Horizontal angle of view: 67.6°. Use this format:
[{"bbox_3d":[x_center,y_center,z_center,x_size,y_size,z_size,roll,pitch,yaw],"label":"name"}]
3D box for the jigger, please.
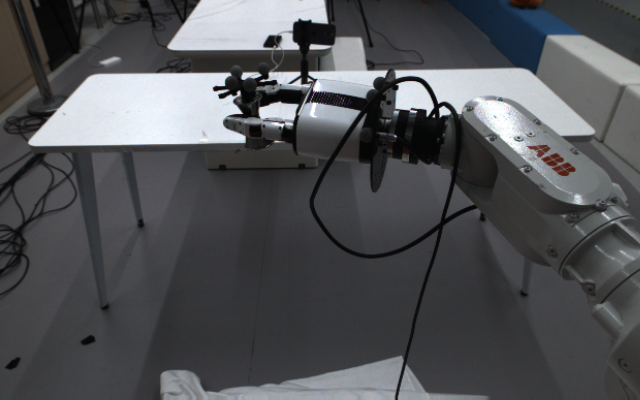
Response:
[{"bbox_3d":[-0.090,-0.110,0.672,0.043,0.071,0.043,-8,31,5],"label":"jigger"}]
